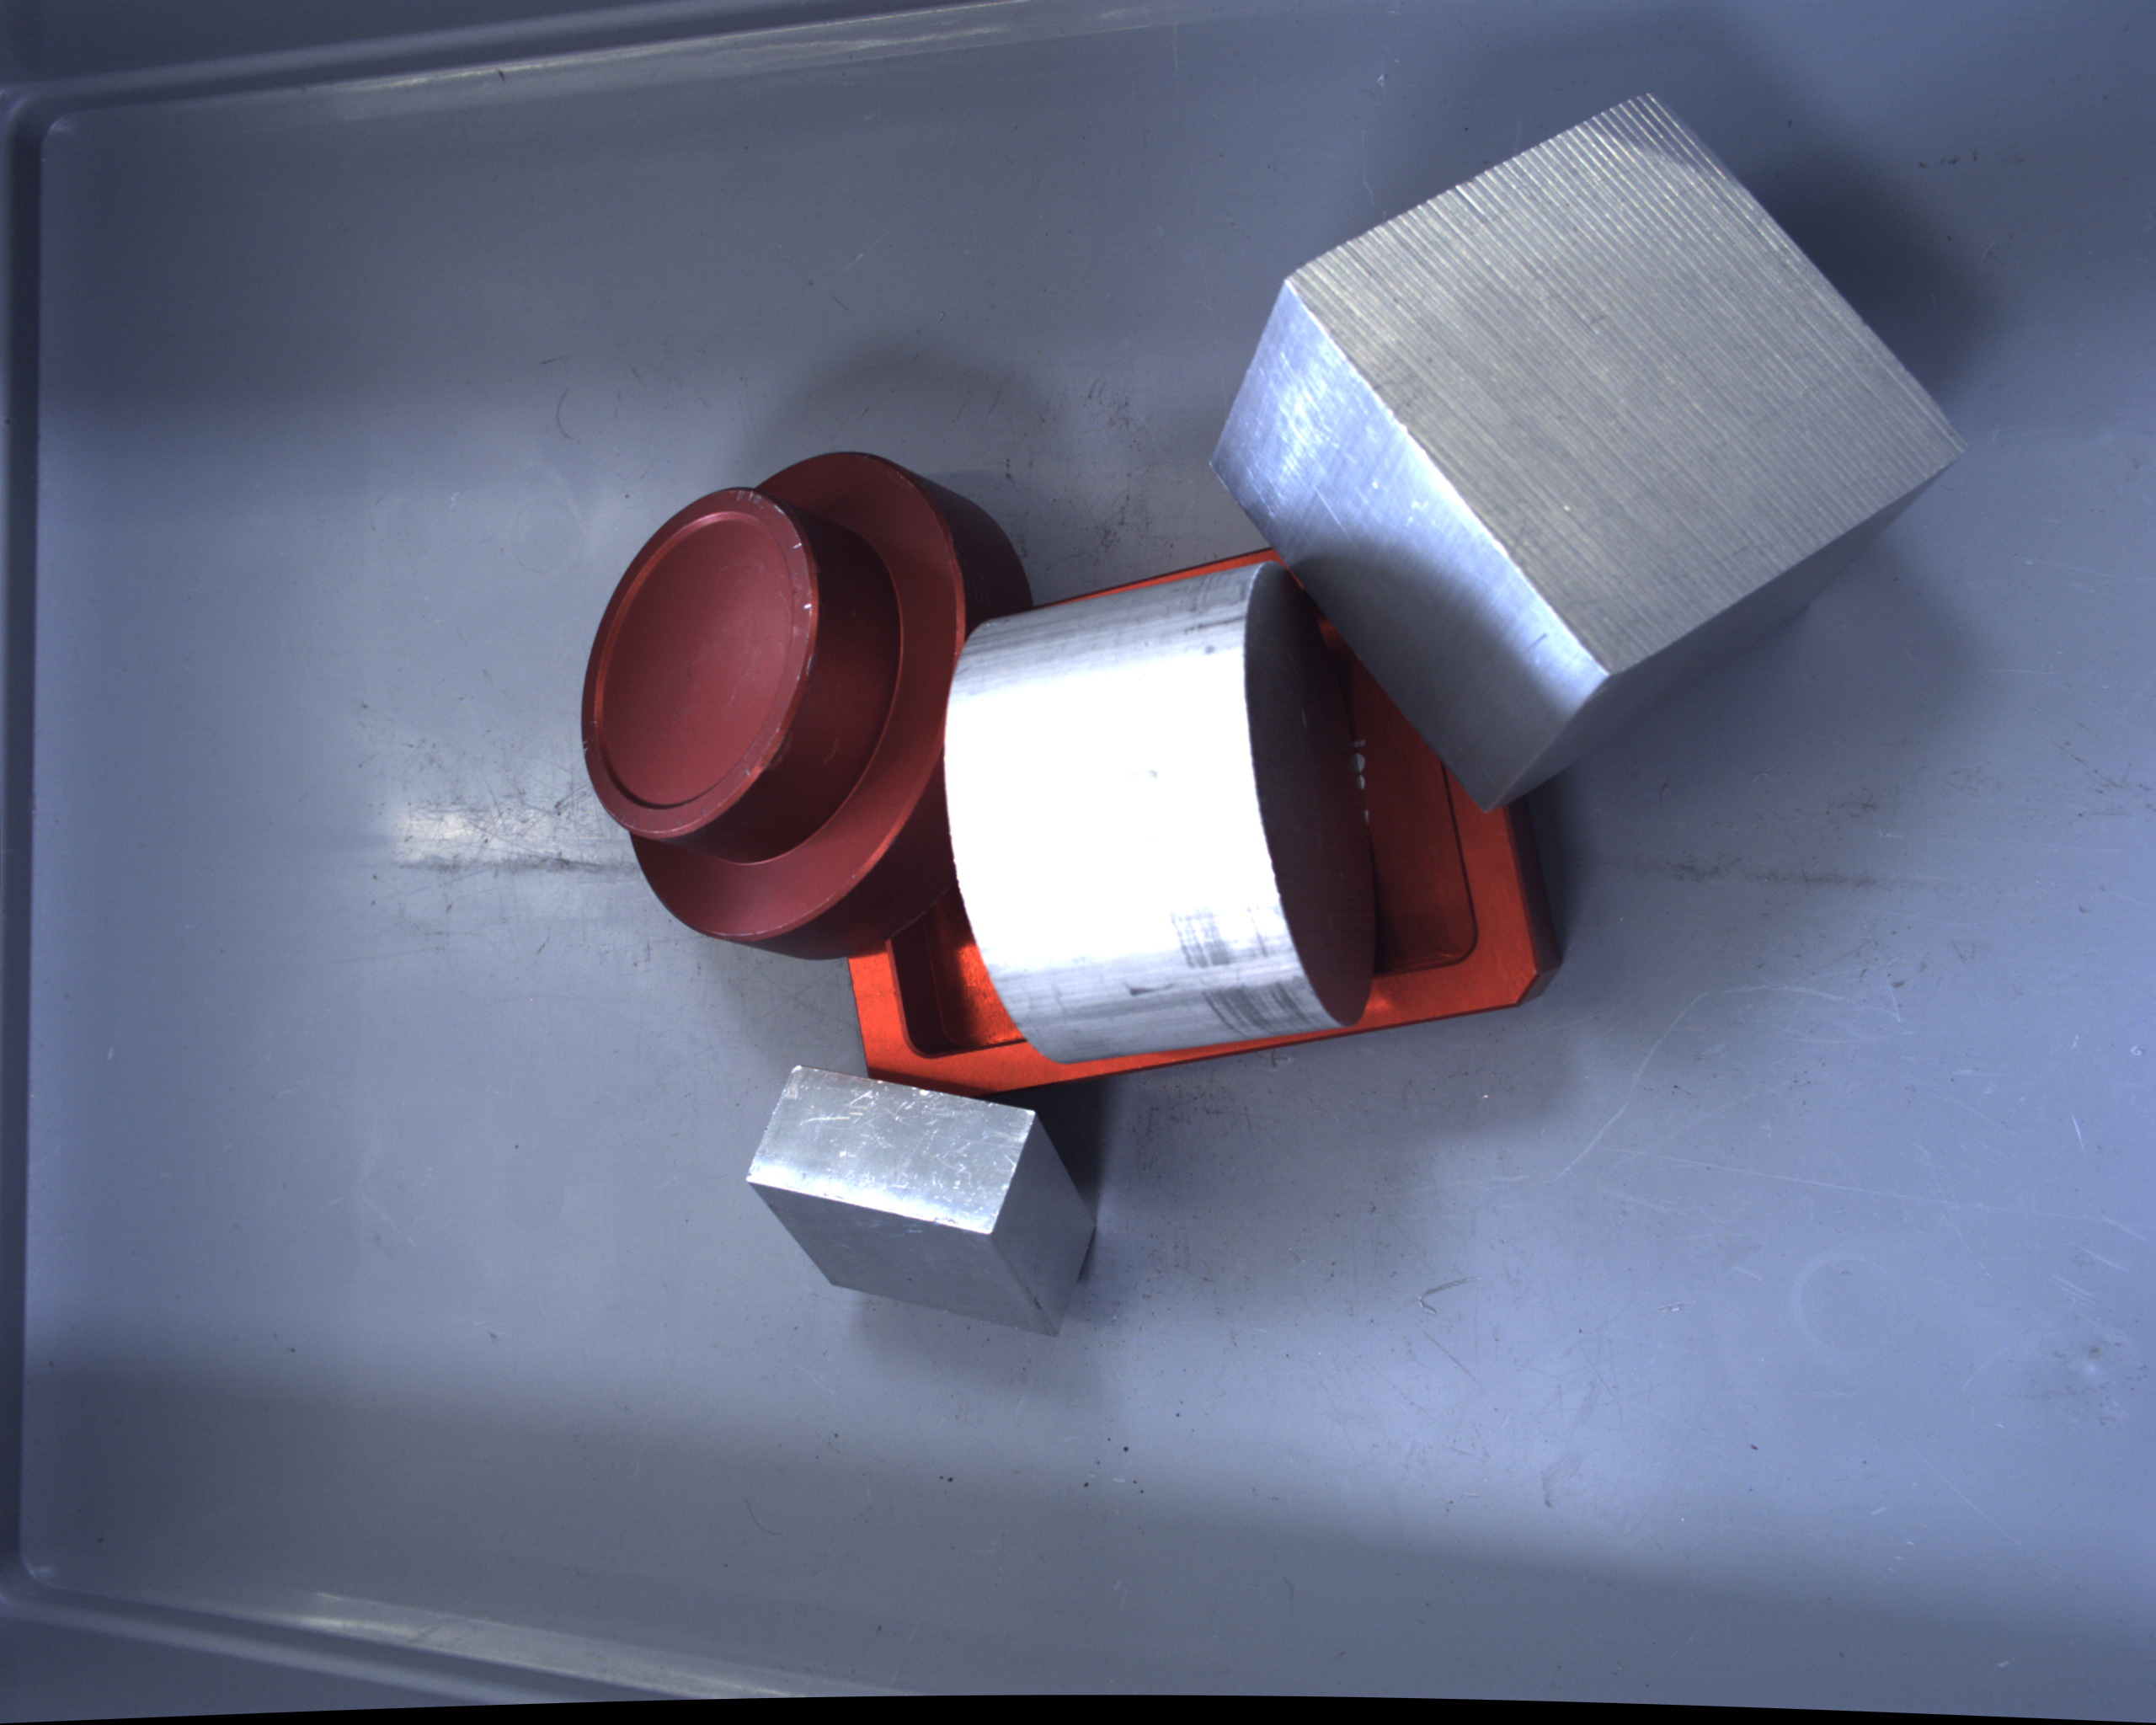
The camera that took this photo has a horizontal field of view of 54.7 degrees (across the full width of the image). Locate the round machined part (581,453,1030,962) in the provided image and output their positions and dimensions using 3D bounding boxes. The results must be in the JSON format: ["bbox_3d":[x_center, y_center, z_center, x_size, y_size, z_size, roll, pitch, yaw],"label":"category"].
[{"bbox_3d":[-0.058,-0.033,0.400,0.098,0.042,0.098,-16,66,39],"label":"round machined part"}]

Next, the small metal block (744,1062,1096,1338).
[{"bbox_3d":[-0.029,0.066,0.403,0.050,0.050,0.025,8,59,20],"label":"small metal block"}]

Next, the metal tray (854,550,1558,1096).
[{"bbox_3d":[0.018,-0.007,0.401,0.130,0.030,0.089,-12,86,19],"label":"metal tray"}]

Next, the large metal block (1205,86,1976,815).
[{"bbox_3d":[0.082,-0.068,0.345,0.080,0.050,0.080,-32,78,-20],"label":"large metal block"}]

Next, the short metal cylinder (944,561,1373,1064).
[{"bbox_3d":[0.017,-0.008,0.360,0.050,0.080,0.080,-9,87,19],"label":"short metal cylinder"}]
